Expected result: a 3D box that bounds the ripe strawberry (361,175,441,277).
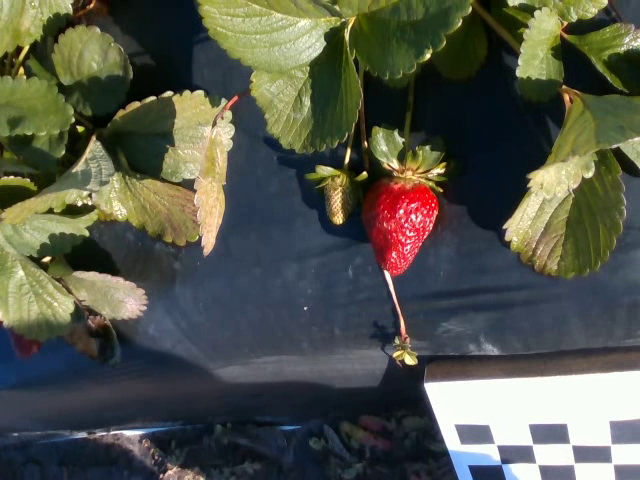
[{"bbox_3d":[0.040,-0.007,0.301,0.041,0.053,0.043,-1,-5,12],"label":"ripe strawberry"}]
